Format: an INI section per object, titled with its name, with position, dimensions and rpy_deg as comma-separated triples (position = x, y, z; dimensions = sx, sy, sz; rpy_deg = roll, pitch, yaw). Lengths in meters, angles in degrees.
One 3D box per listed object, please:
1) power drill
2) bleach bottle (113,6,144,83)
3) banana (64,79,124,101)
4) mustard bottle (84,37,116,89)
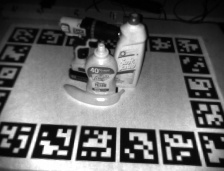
[power drill]
position = -0.072, -0.134, 0.672
dimensions = 0.184, 0.187, 0.057
rpy_deg = 14, 51, 6
[bleach bottle]
position = 0.038, -0.119, 0.663
dimensions = 0.102, 0.252, 0.067
rpy_deg = 5, 46, 2
[banana]
position = -0.061, 0.012, 0.693
dimensions = 0.197, 0.039, 0.074
rpy_deg = 6, 53, 4
[mustard bottle]
position = -0.036, -0.064, 0.645
dimensions = 0.096, 0.192, 0.058
rpy_deg = 4, 51, -1
